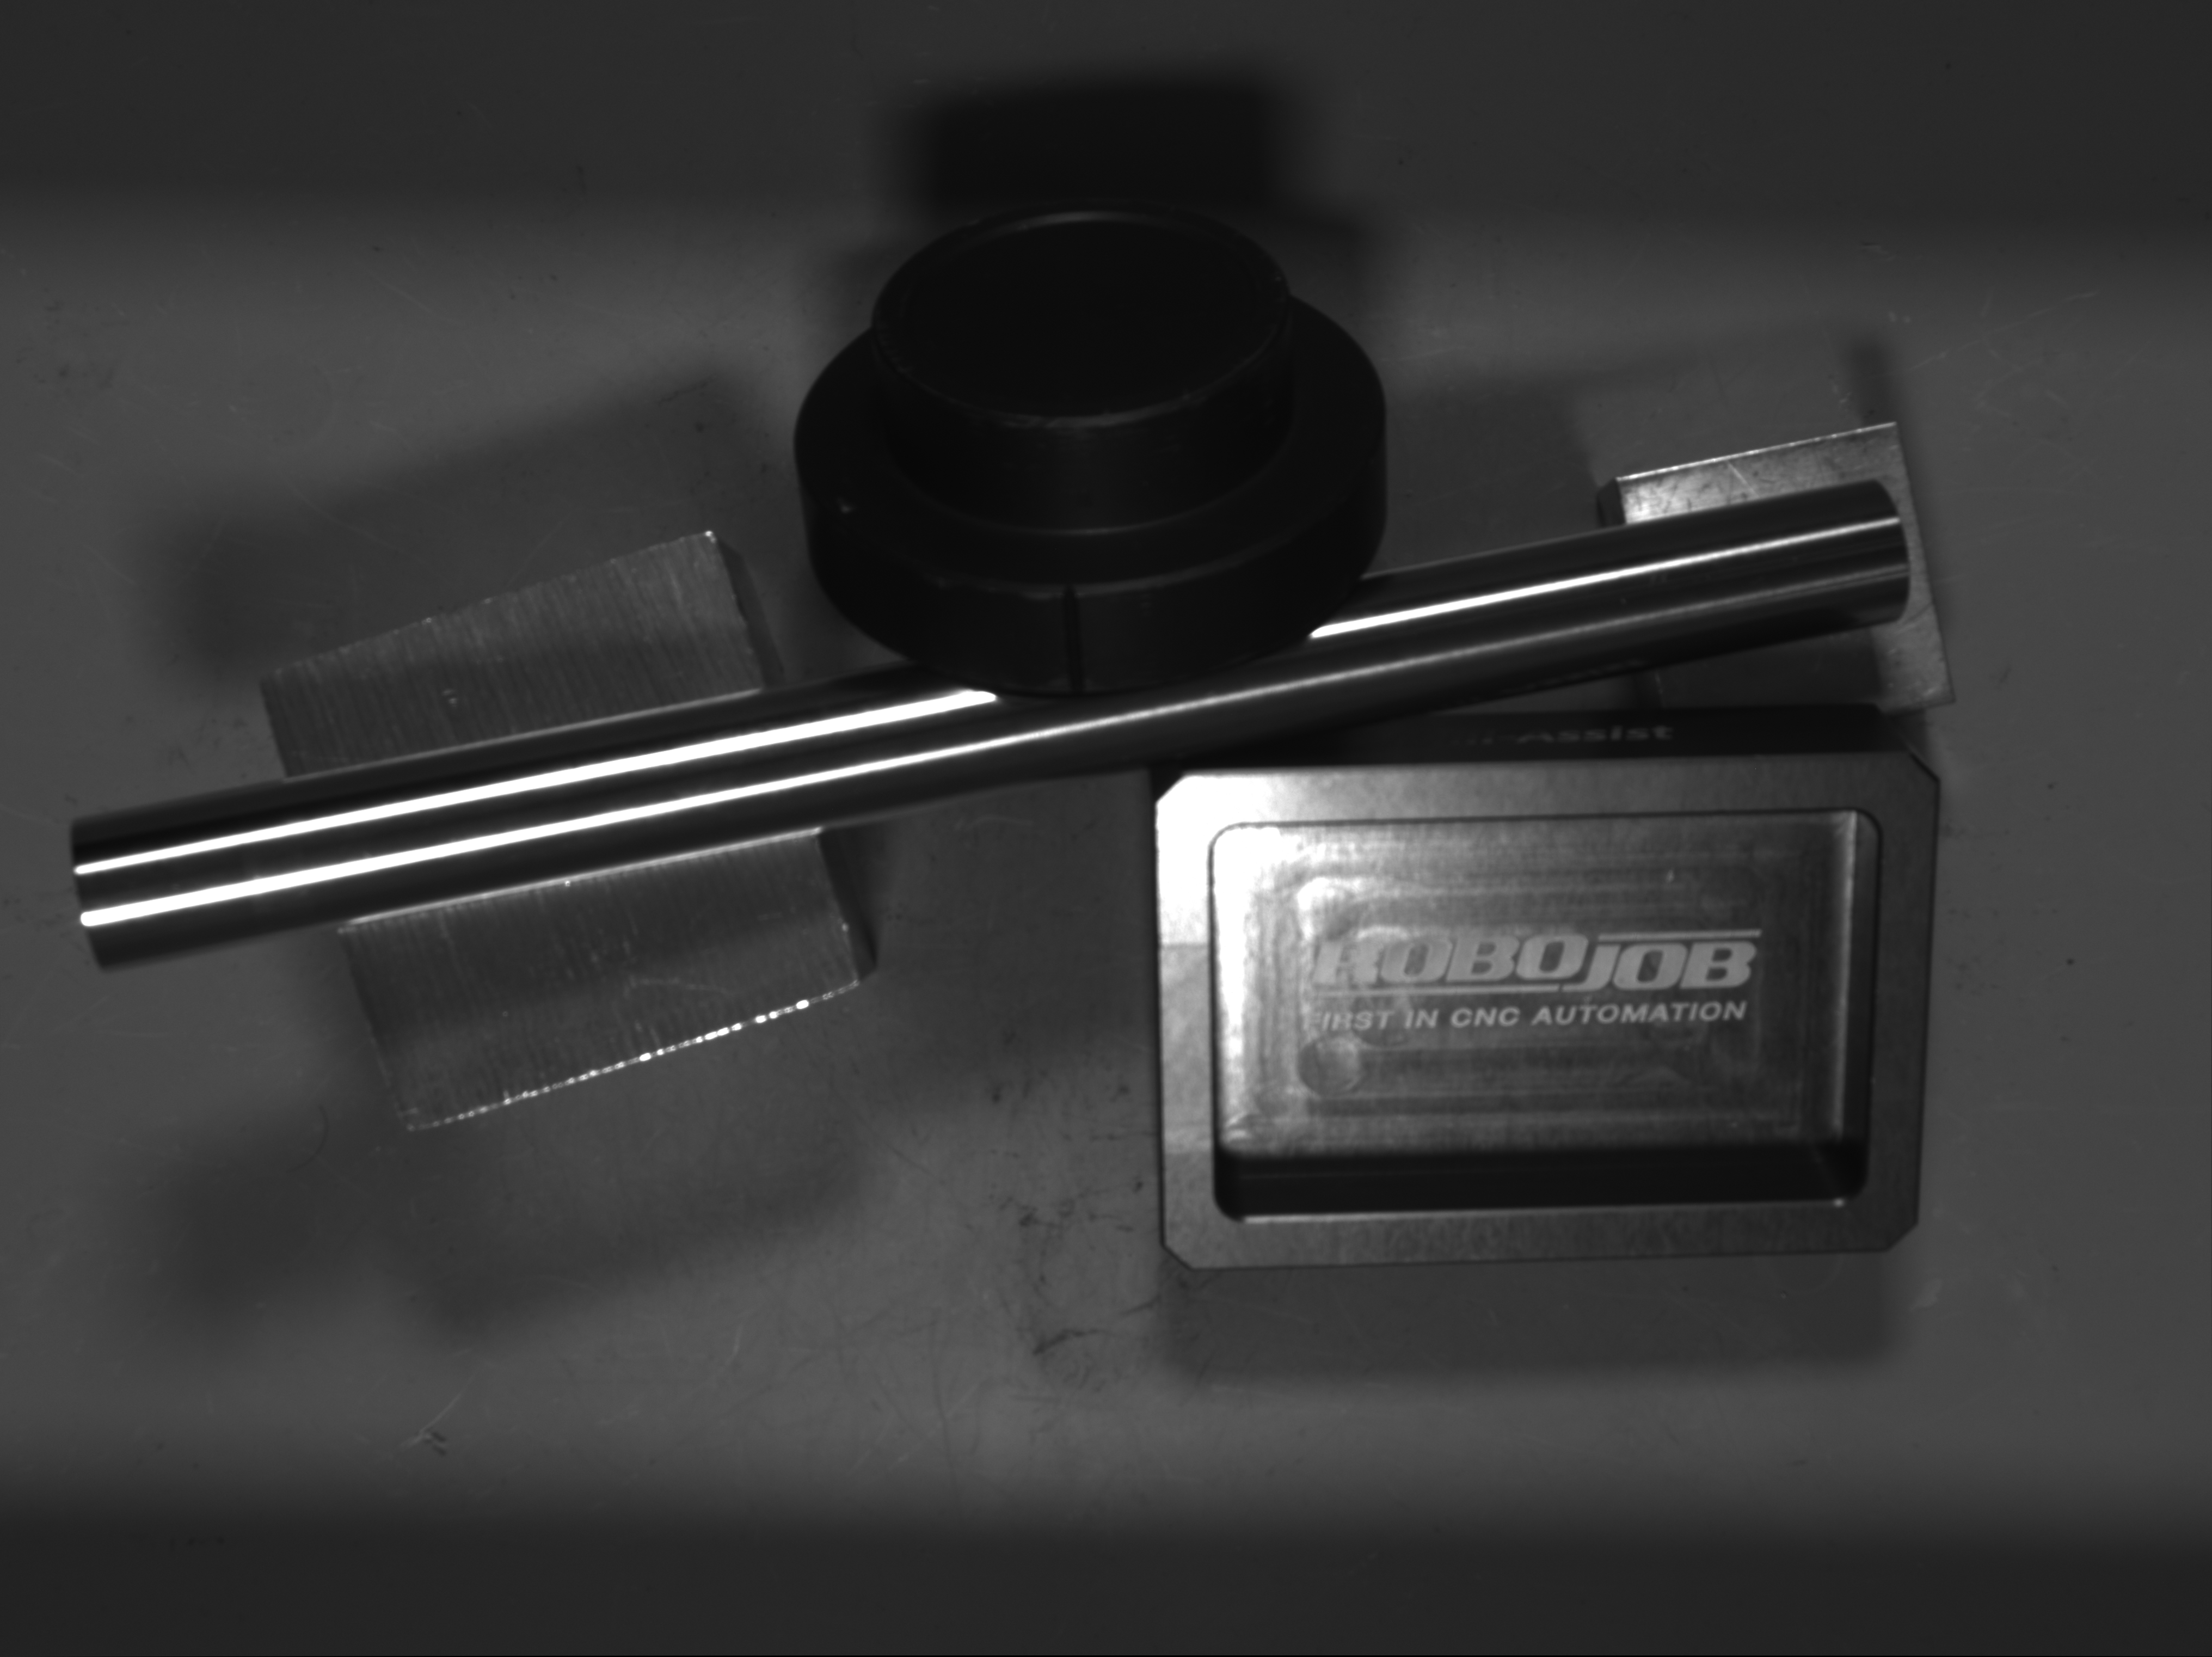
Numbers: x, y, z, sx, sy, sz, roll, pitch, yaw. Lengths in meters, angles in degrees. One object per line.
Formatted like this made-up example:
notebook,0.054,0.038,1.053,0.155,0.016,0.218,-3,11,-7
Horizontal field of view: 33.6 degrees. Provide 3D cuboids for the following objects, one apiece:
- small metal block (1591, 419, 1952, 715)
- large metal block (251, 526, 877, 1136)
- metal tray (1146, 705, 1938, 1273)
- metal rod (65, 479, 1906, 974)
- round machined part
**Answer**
small metal block,0.117,-0.041,0.645,0.050,0.025,0.050,-11,90,0
large metal block,-0.091,0.000,0.630,0.080,0.050,0.080,-18,90,0
metal tray,0.073,0.028,0.628,0.130,0.030,0.090,-2,109,-1
metal rod,-0.016,-0.018,0.599,0.300,0.025,0.025,-11,90,-8
round machined part,-0.004,-0.069,0.606,0.098,0.098,0.042,-4,130,0
